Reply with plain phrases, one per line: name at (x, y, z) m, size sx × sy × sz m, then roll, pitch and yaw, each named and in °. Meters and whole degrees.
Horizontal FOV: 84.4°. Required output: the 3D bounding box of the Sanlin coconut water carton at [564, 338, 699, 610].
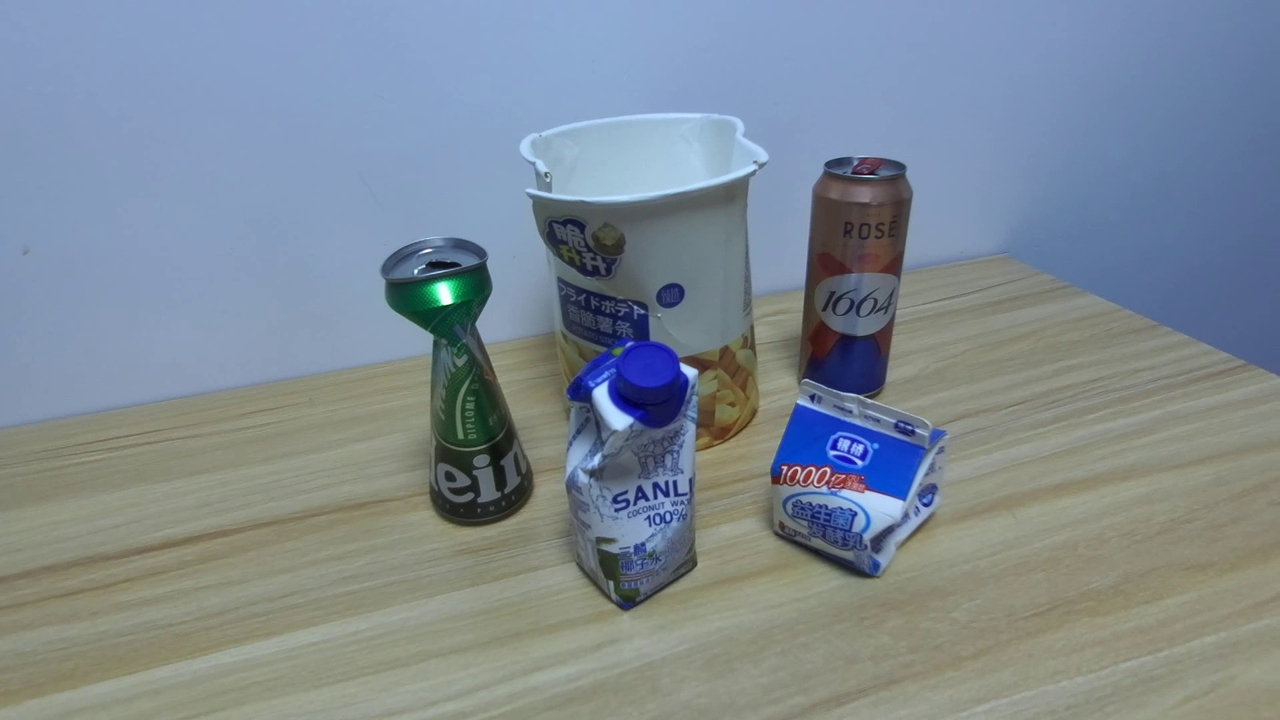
Sanlin coconut water carton at (-0.006, 0.053, 0.357) m, size 0.061 × 0.144 × 0.069 m, roll -21°, pitch 35°, yaw -30°

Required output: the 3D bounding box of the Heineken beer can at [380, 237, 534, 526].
Heineken beer can at (-0.104, 0.015, 0.417) m, size 0.066 × 0.164 × 0.078 m, roll 5°, pitch 31°, yaw 17°

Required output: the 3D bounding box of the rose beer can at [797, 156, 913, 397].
rose beer can at (0.154, -0.055, 0.512) m, size 0.068 × 0.169 × 0.068 m, roll -1°, pitch 29°, yaw 1°

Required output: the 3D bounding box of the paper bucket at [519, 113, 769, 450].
paper bucket at (0.011, -0.053, 0.488) m, size 0.146 × 0.197 × 0.202 m, roll -8°, pitch 29°, yaw -3°

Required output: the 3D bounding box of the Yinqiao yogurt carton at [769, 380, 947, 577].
Yinqiao yogurt carton at (0.118, 0.058, 0.383) m, size 0.074 × 0.097 × 0.080 m, roll 18°, pitch 42°, yaw 32°
